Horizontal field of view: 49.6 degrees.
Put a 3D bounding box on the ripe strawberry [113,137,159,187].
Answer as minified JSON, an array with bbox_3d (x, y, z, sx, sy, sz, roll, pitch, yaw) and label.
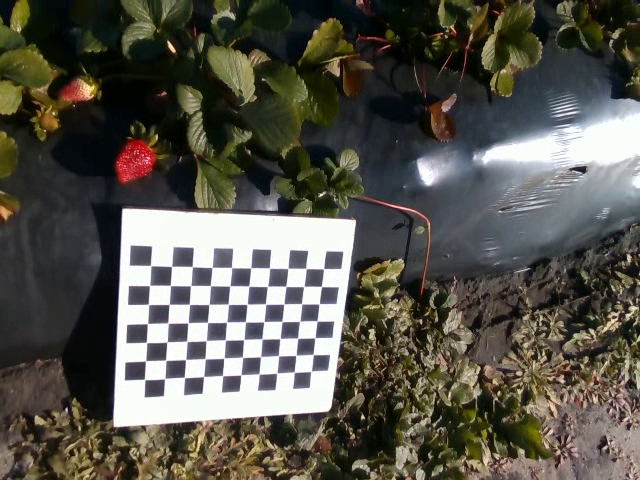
[{"bbox_3d":[-0.211,-0.085,0.759,0.058,0.066,0.062,-31,28,21],"label":"ripe strawberry"}]
